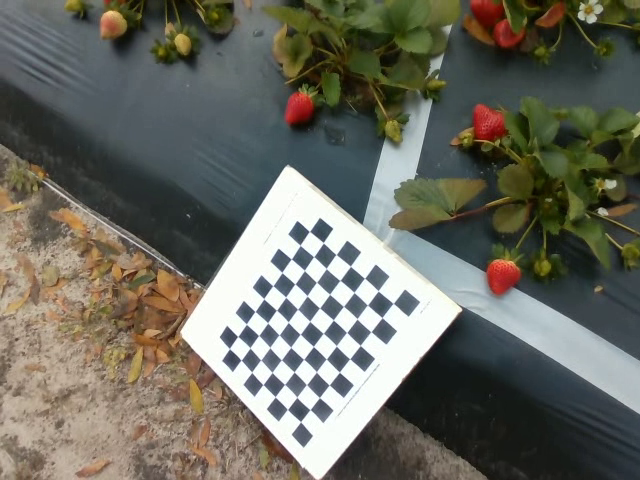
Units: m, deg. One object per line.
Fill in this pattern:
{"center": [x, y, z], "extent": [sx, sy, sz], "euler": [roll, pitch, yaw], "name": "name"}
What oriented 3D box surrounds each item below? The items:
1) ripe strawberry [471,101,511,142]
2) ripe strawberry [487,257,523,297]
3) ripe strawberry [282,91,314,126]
{"center": [0.201, -0.141, 0.802], "extent": [0.043, 0.062, 0.042], "euler": [-39, -23, 28], "name": "ripe strawberry"}
{"center": [0.200, 0.040, 0.745], "extent": [0.039, 0.047, 0.041], "euler": [3, -5, 36], "name": "ripe strawberry"}
{"center": [-0.025, -0.157, 0.818], "extent": [0.036, 0.040, 0.046], "euler": [27, 58, 34], "name": "ripe strawberry"}
